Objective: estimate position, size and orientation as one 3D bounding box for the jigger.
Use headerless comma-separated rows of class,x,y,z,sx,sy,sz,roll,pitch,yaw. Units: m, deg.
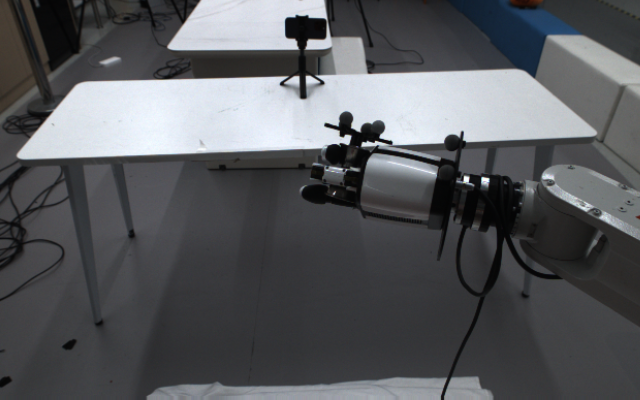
jigger,0.036,-0.035,0.616,0.043,0.071,0.043,17,2,-1
